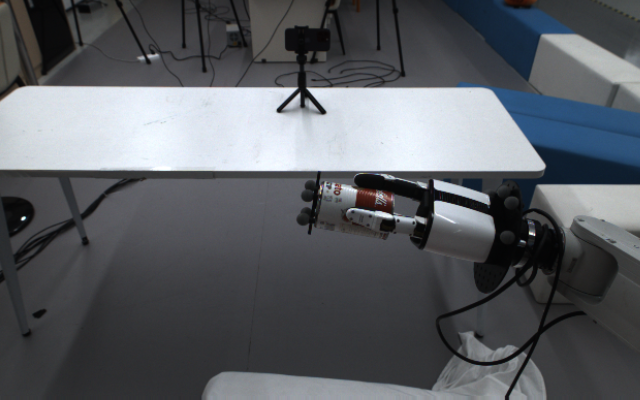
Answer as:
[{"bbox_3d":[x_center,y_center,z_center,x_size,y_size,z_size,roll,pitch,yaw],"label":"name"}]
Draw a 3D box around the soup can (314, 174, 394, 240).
[{"bbox_3d":[0.049,0.014,0.673,0.101,0.067,0.067,9,35,0],"label":"soup can"}]
